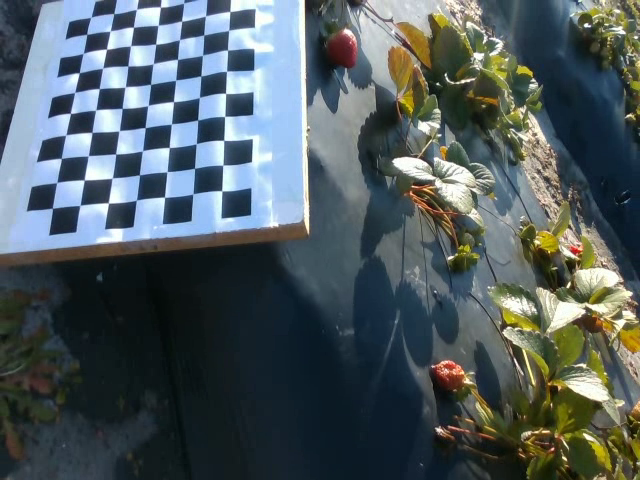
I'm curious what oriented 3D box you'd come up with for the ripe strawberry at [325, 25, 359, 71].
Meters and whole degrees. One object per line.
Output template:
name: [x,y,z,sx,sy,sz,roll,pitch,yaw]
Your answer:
ripe strawberry: [0.030,-0.213,0.710,0.044,0.064,0.044,-21,-26,-2]
